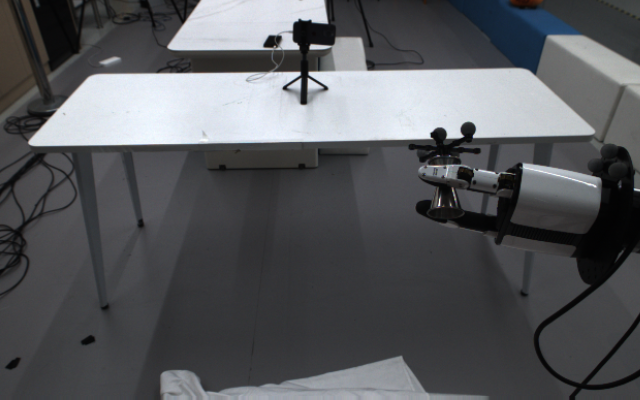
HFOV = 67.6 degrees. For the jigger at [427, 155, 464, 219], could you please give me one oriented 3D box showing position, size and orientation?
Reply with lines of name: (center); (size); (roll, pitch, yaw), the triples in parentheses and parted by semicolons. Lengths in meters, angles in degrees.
jigger: (0.151, -0.017, 0.591); (0.043, 0.043, 0.071); (3, 71, 2)
